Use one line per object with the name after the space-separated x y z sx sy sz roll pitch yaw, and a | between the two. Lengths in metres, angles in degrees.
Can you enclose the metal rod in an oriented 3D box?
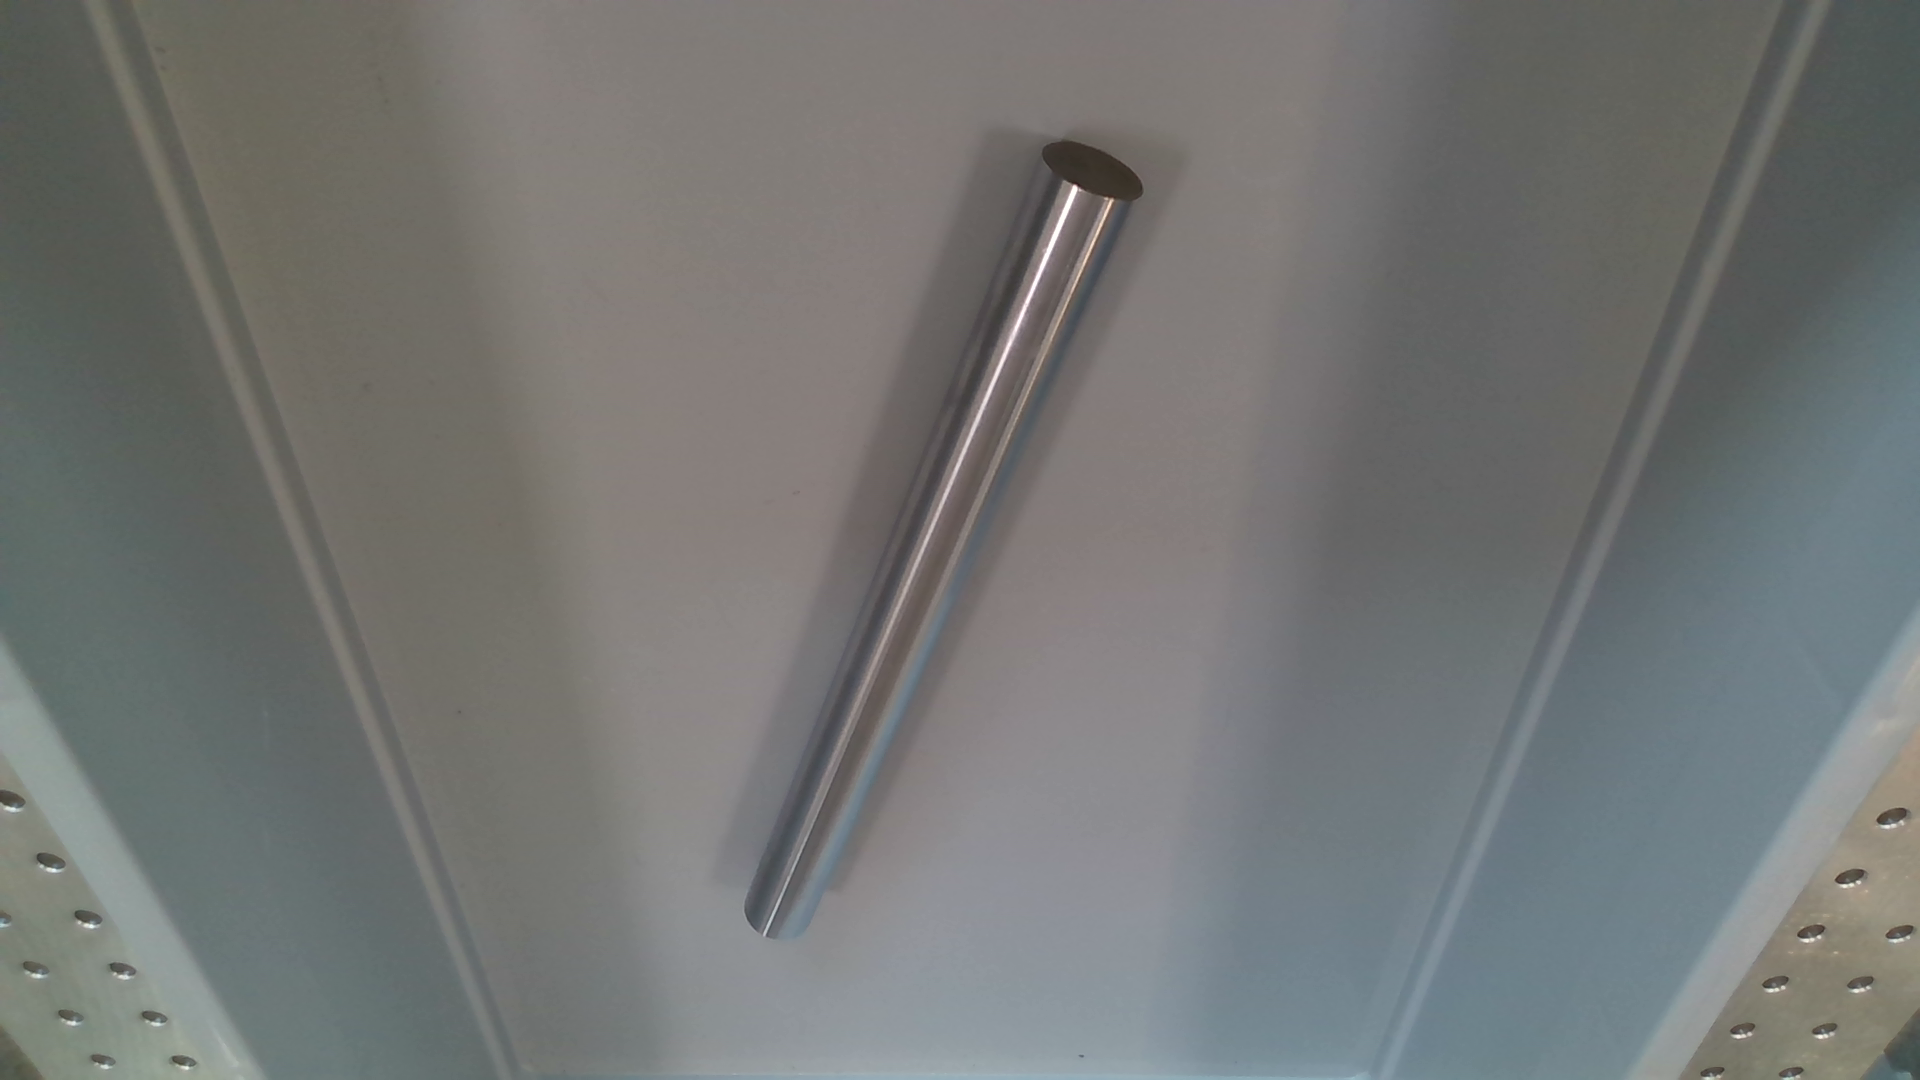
-0.018 0.023 0.406 0.025 0.025 0.301 14 129 -12 | metal rod
